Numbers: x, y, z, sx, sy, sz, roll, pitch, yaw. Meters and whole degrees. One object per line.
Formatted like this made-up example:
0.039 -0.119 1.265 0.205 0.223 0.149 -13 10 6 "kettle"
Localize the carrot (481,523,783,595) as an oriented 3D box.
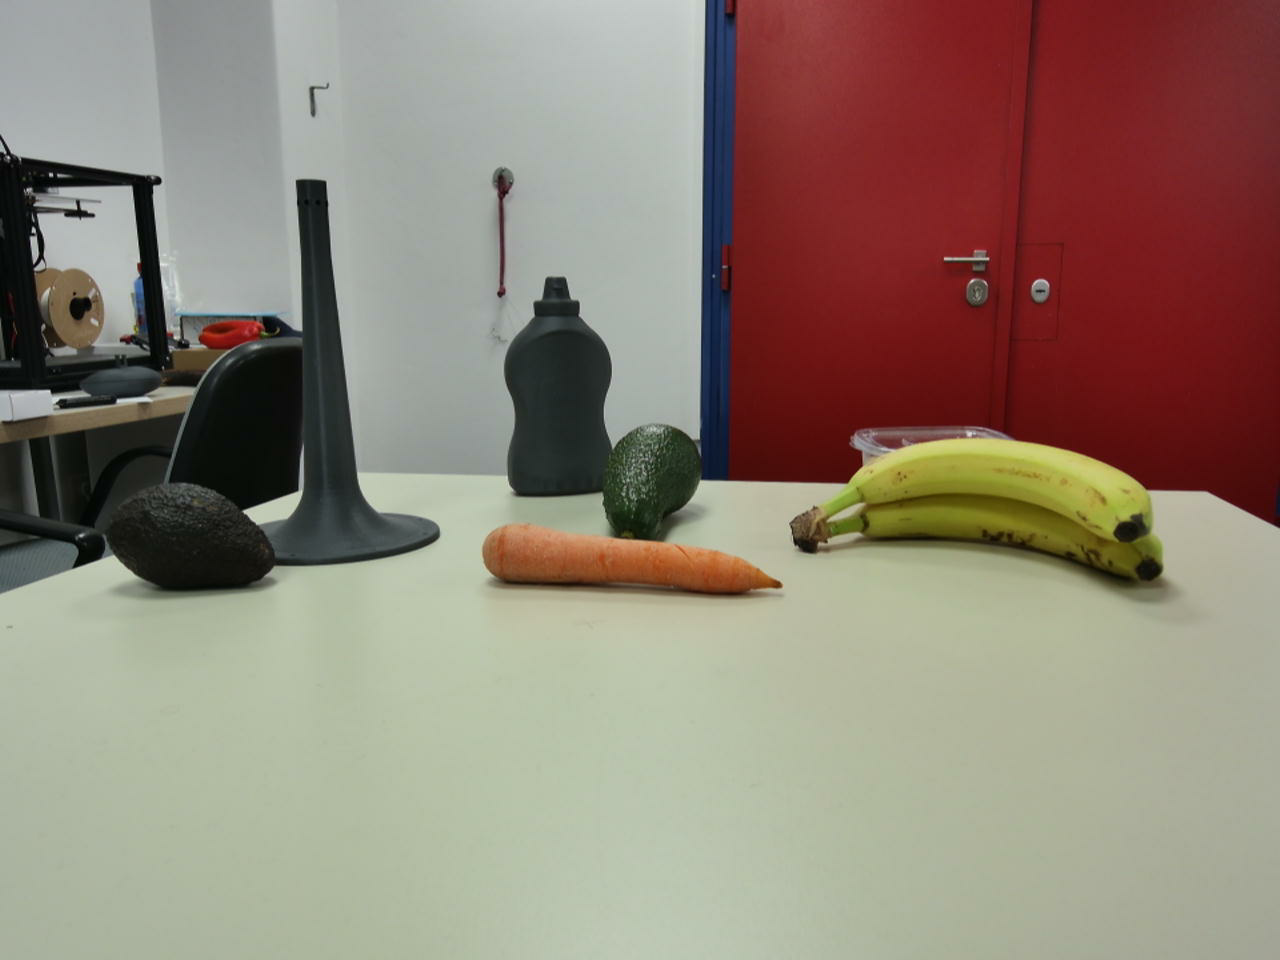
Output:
-0.007 0.050 0.643 0.196 0.041 0.039 1 8 11 "carrot"
